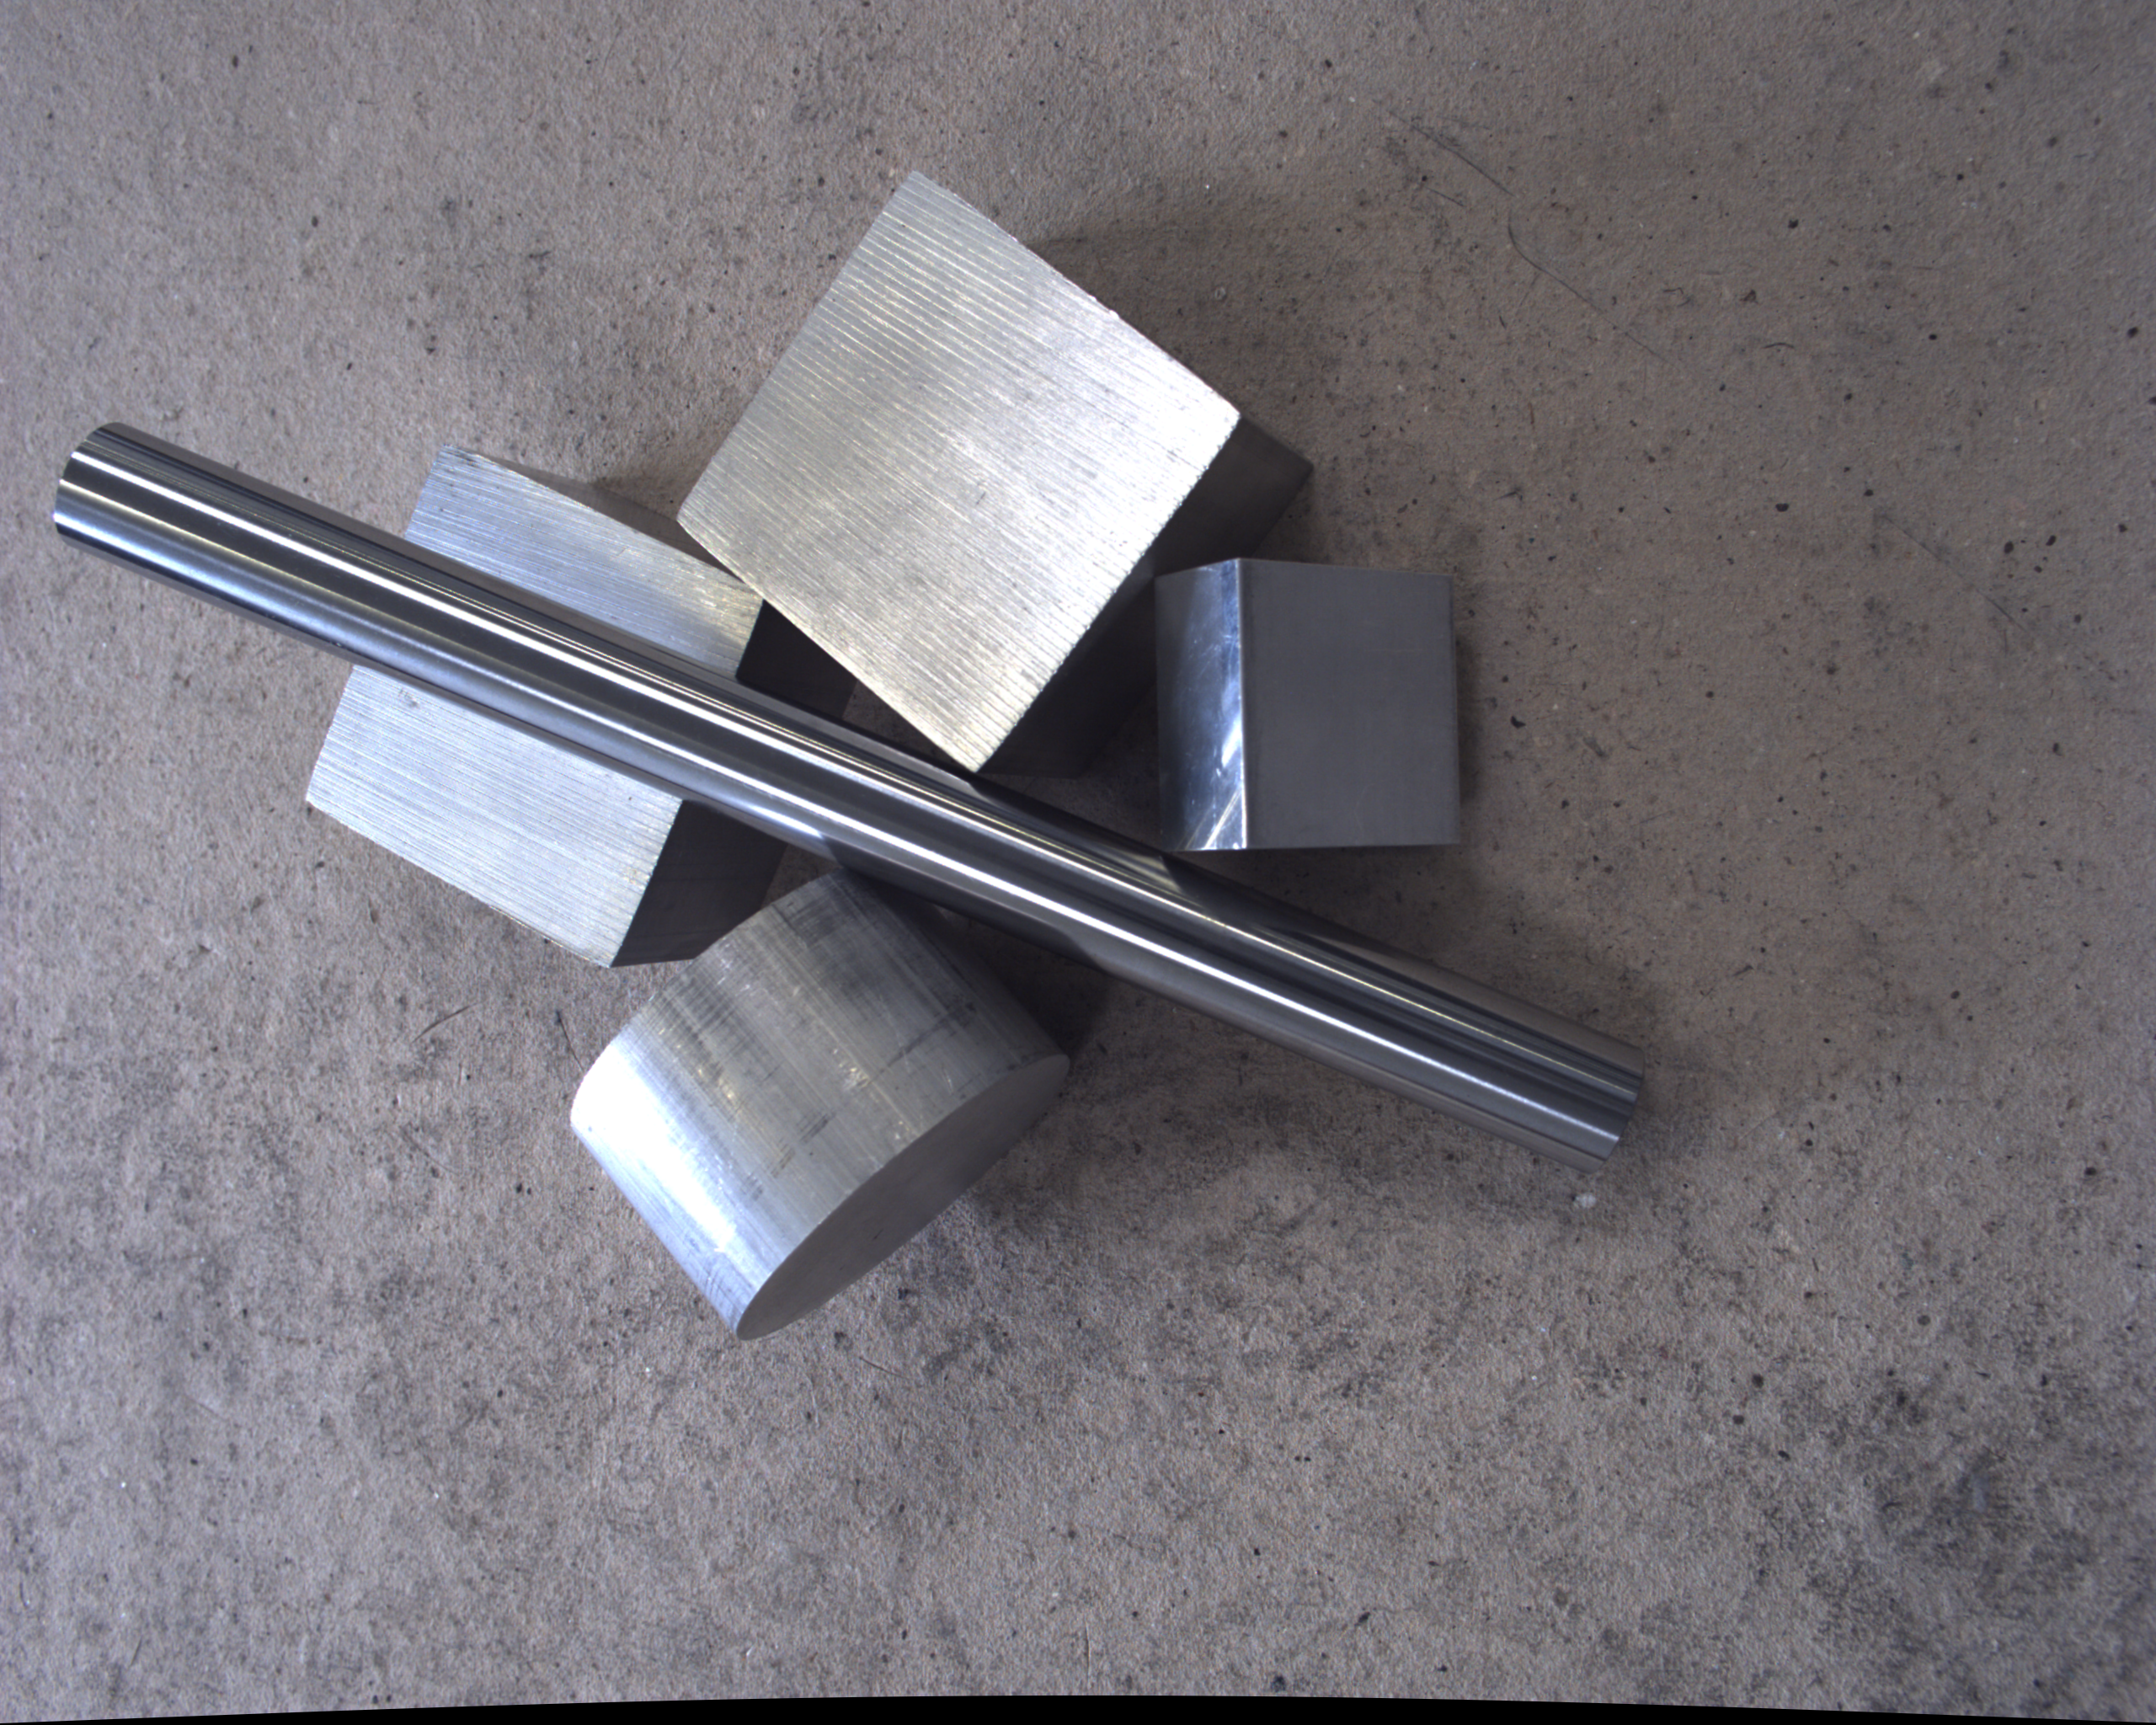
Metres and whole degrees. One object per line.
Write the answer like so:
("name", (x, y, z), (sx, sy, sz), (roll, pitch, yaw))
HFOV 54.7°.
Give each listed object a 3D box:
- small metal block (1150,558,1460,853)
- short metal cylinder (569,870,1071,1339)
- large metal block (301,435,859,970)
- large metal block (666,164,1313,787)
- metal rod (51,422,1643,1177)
("small metal block", (0.042, -0.027, 0.380), (0.025, 0.050, 0.050), (-2, 89, 56))
("short metal cylinder", (-0.048, 0.045, 0.397), (0.080, 0.080, 0.050), (-46, 76, 14))
("large metal block", (-0.100, -0.032, 0.432), (0.080, 0.050, 0.080), (26, 99, 18))
("large metal block", (-0.016, -0.071, 0.400), (0.080, 0.050, 0.080), (41, 103, 15))
("metal rod", (-0.043, -0.012, 0.381), (0.301, 0.025, 0.025), (22, 98, 2))
